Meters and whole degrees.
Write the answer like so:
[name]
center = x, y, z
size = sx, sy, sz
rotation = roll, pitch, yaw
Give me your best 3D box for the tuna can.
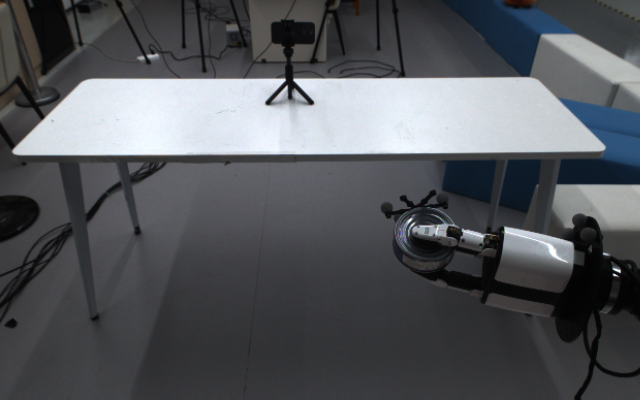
[tuna can]
center = 0.147, 0.060, 0.654
size = 0.085, 0.034, 0.085
rotation = -3, 61, 5
